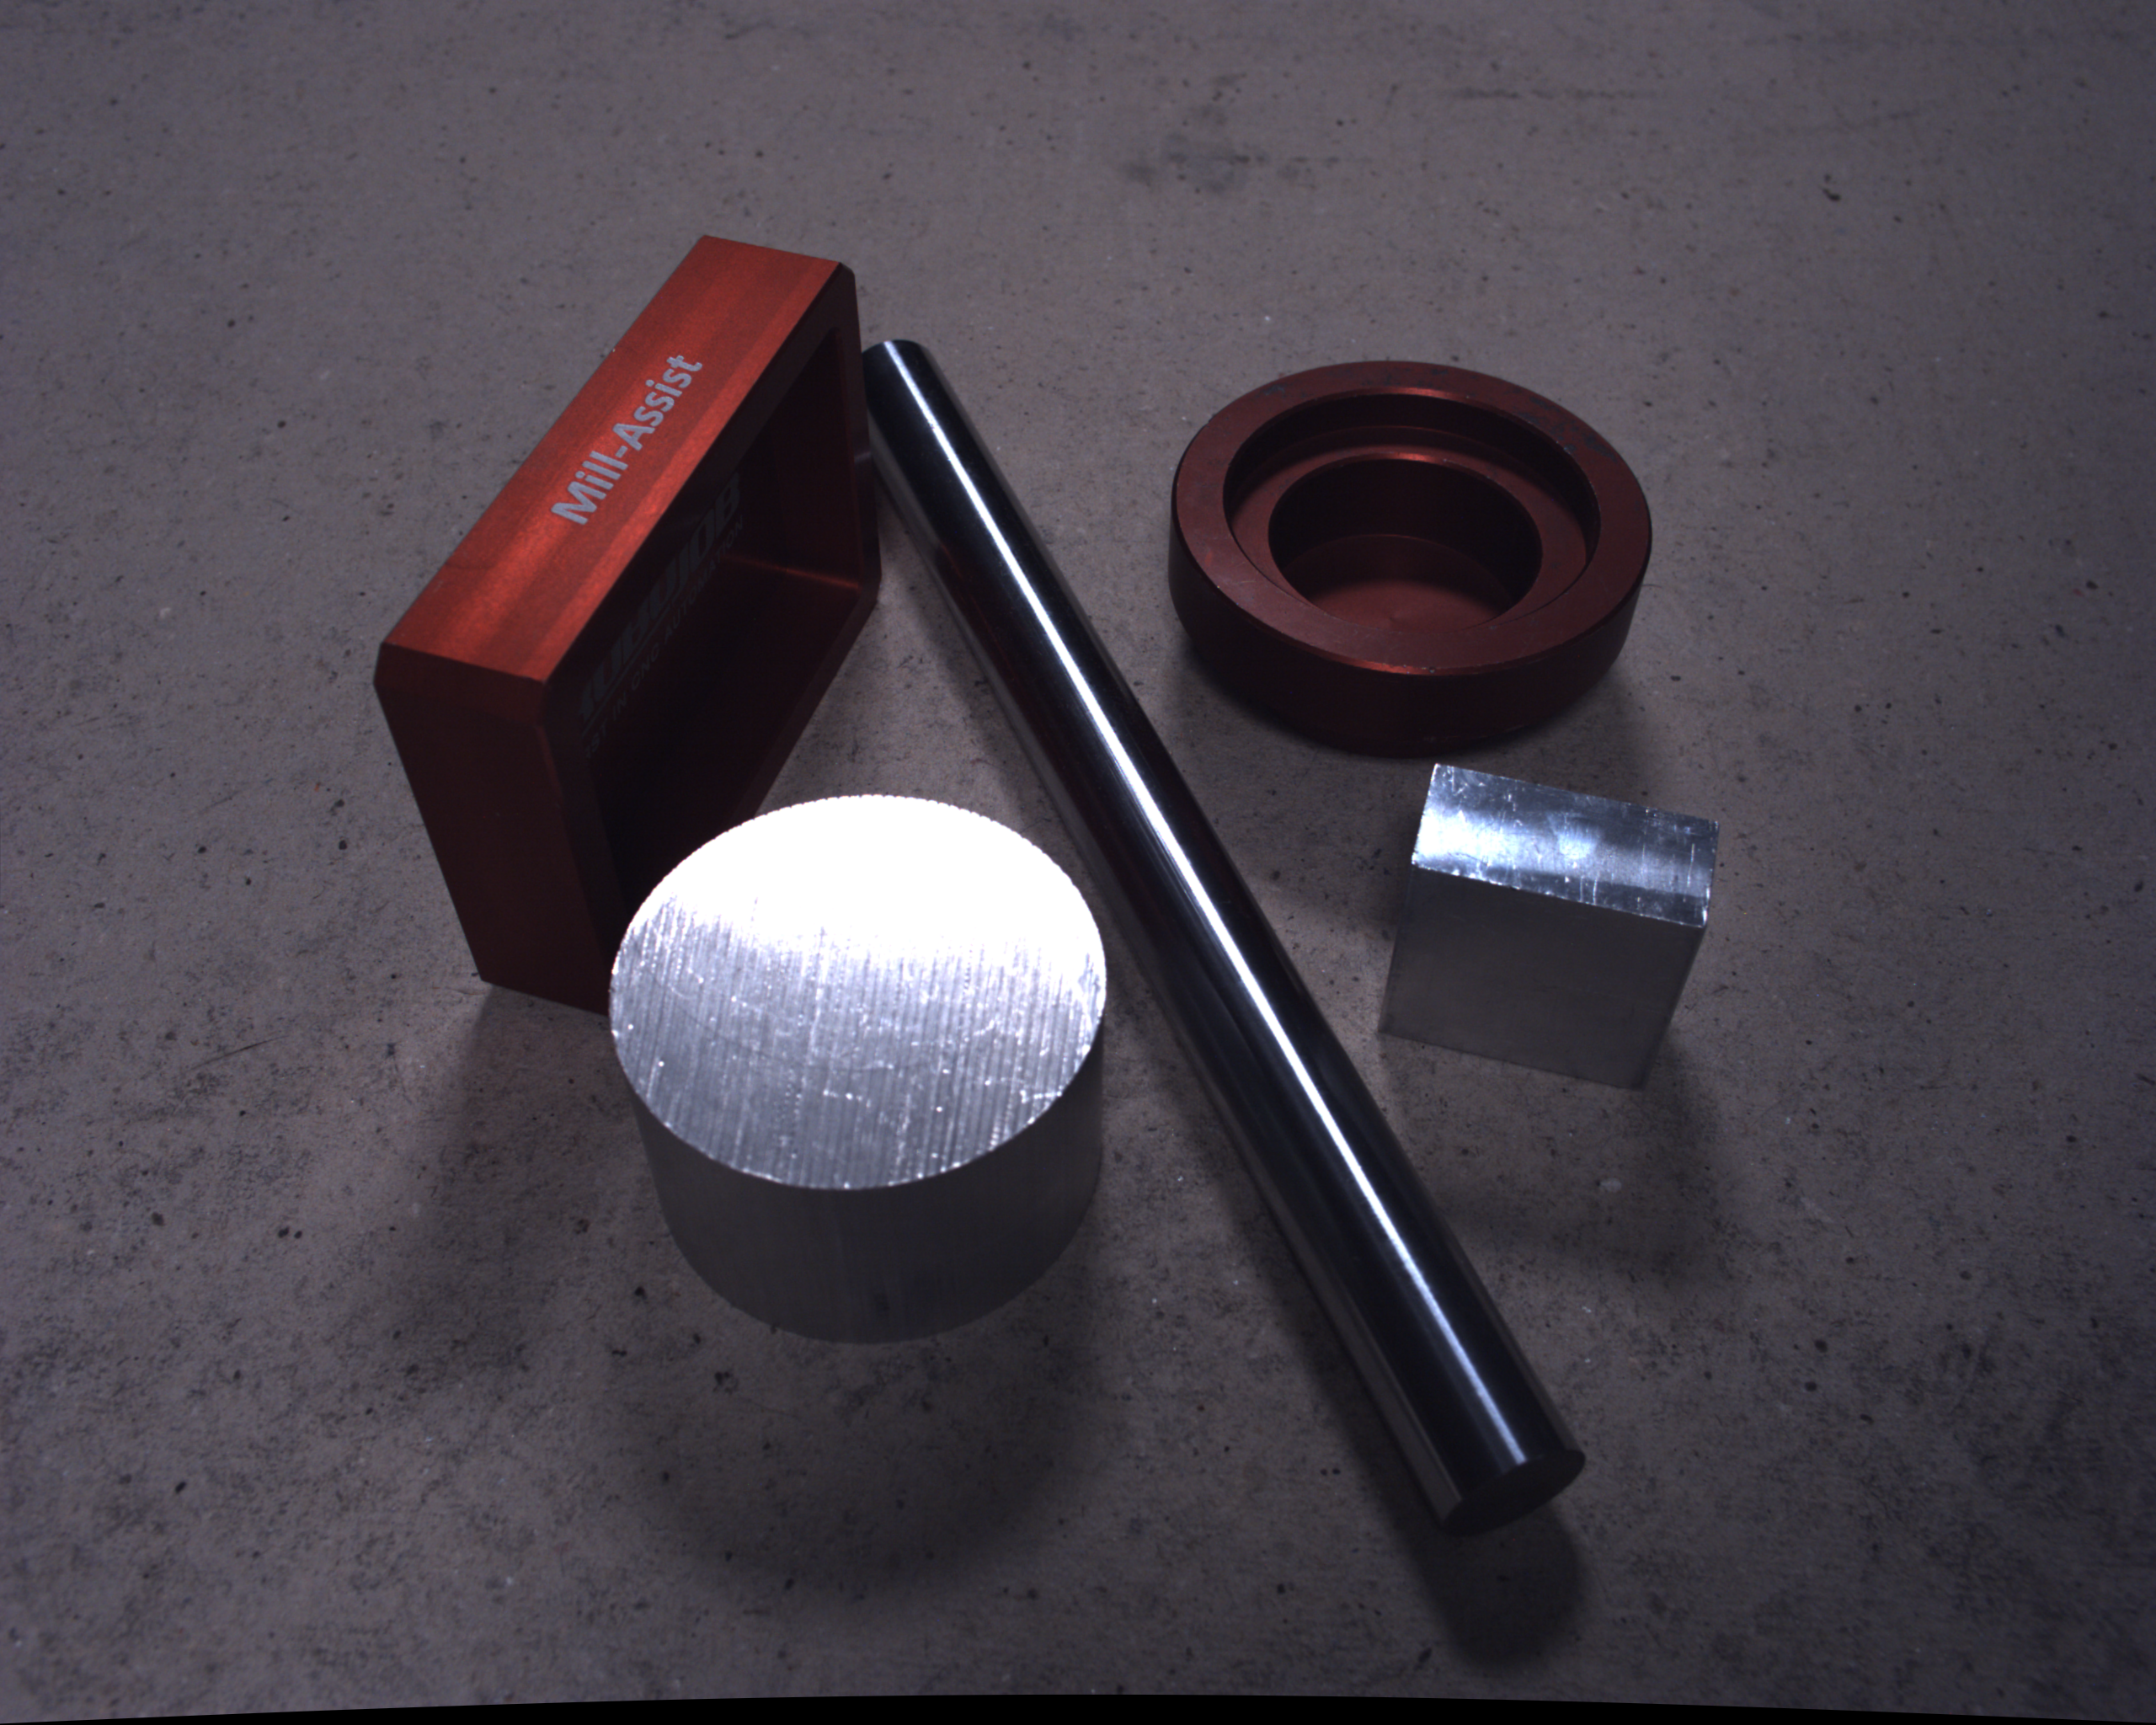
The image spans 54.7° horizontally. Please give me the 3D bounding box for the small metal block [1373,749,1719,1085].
[{"bbox_3d":[0.083,0.010,0.377,0.050,0.050,0.025,13,51,10],"label":"small metal block"}]

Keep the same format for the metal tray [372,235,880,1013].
[{"bbox_3d":[-0.079,-0.047,0.401,0.030,0.089,0.130,14,51,11],"label":"metal tray"}]

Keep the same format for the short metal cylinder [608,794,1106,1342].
[{"bbox_3d":[-0.036,0.035,0.359,0.081,0.050,0.080,0,50,0],"label":"short metal cylinder"}]

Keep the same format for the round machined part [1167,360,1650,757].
[{"bbox_3d":[0.068,-0.061,0.446,0.099,0.042,0.098,0,50,0],"label":"round machined part"}]

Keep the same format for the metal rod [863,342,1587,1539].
[{"bbox_3d":[0.011,-0.008,0.412,0.025,0.025,0.300,-17,52,-14],"label":"metal rod"}]
